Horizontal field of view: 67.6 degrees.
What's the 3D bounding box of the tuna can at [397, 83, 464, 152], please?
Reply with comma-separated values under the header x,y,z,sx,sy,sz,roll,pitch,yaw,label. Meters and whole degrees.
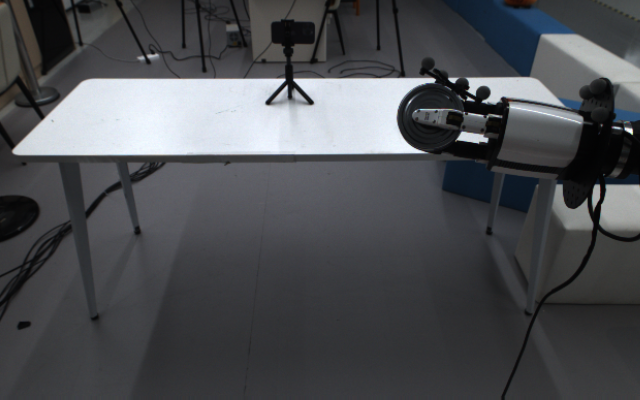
x,y,z,sx,sy,sz,roll,pitch,yaw,label
0.145,-0.109,0.628,0.085,0.085,0.034,12,4,14,tuna can
